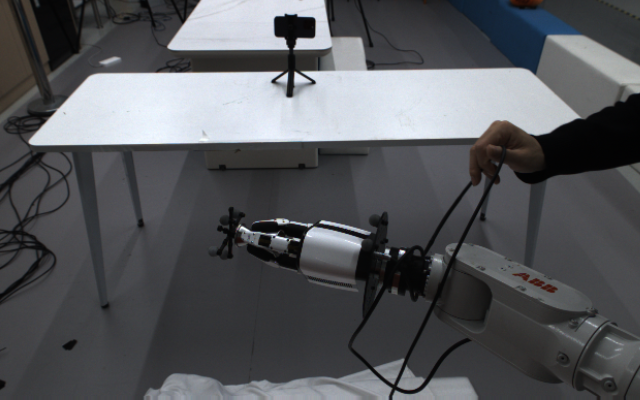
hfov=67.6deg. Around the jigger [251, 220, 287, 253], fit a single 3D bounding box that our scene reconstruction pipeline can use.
[{"bbox_3d":[-0.089,0.058,0.754,0.071,0.043,0.043,10,35,16],"label":"jigger"}]
